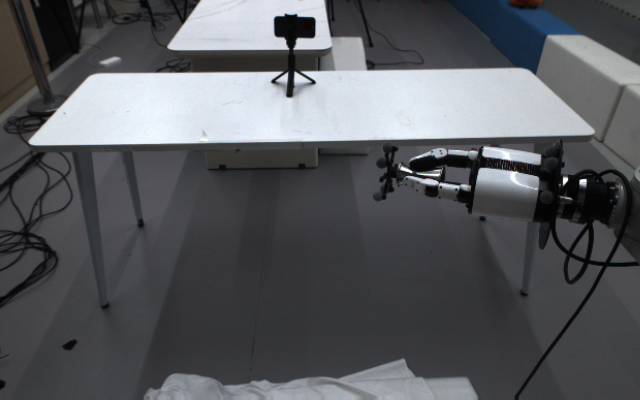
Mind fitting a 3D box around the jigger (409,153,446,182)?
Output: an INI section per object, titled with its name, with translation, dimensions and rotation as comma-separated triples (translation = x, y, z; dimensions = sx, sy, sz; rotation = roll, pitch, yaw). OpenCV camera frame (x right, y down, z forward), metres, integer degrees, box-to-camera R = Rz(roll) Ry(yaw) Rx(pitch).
[jigger]
translation = 0.163, -0.040, 0.755
dimensions = 0.071, 0.043, 0.043
rotation = 10, 35, 22
